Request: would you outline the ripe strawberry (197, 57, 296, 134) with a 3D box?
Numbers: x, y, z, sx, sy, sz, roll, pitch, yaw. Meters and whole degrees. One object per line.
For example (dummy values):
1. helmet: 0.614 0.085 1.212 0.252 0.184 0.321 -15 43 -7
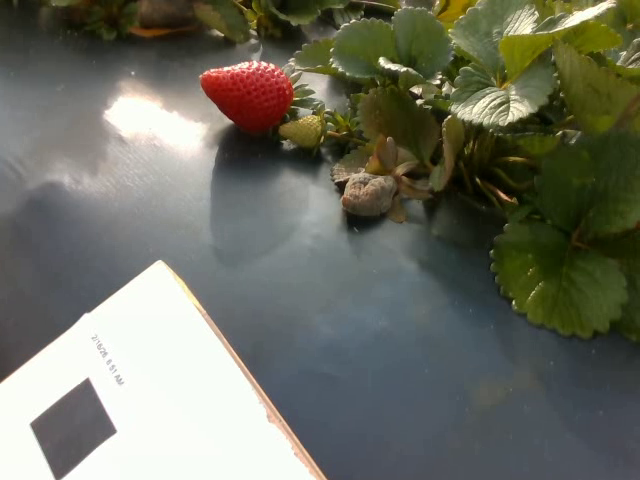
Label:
1. ripe strawberry: -0.042 -0.079 0.308 0.057 0.051 0.046 -3 43 -45
